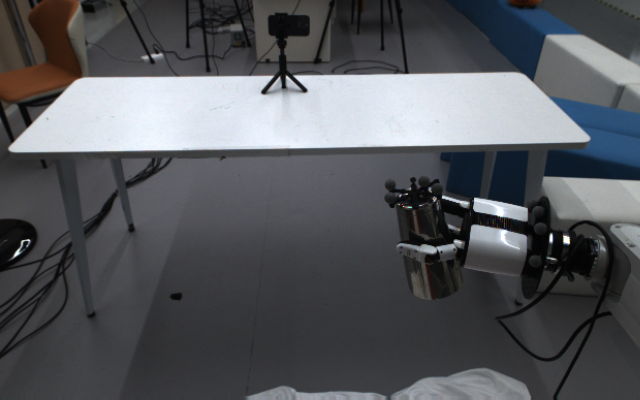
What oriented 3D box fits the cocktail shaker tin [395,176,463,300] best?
[{"bbox_3d":[0.171,0.064,0.777,0.093,0.170,0.093,-15,29,8],"label":"cocktail shaker tin"}]
